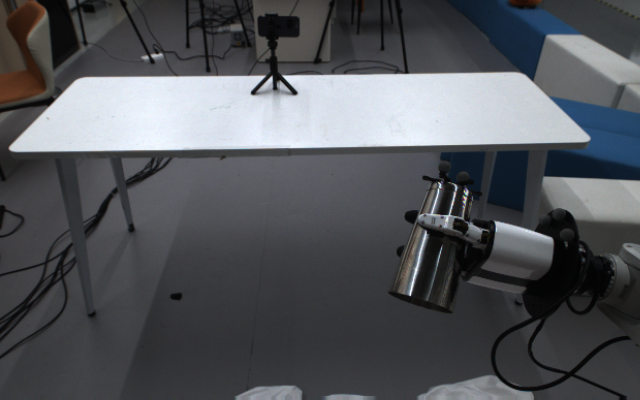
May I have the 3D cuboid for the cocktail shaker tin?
[{"bbox_3d":[0.167,0.064,0.688,0.093,0.093,0.170,14,75,17],"label":"cocktail shaker tin"}]
